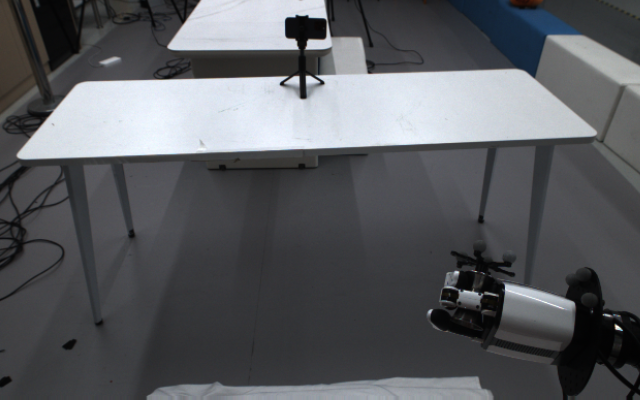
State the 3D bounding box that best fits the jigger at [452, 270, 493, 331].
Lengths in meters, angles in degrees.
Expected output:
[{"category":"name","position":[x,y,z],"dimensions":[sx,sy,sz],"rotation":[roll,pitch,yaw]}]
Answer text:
[{"category":"jigger","position":[0.202,0.128,0.636],"dimensions":[0.043,0.043,0.071],"rotation":[16,70,19]}]
